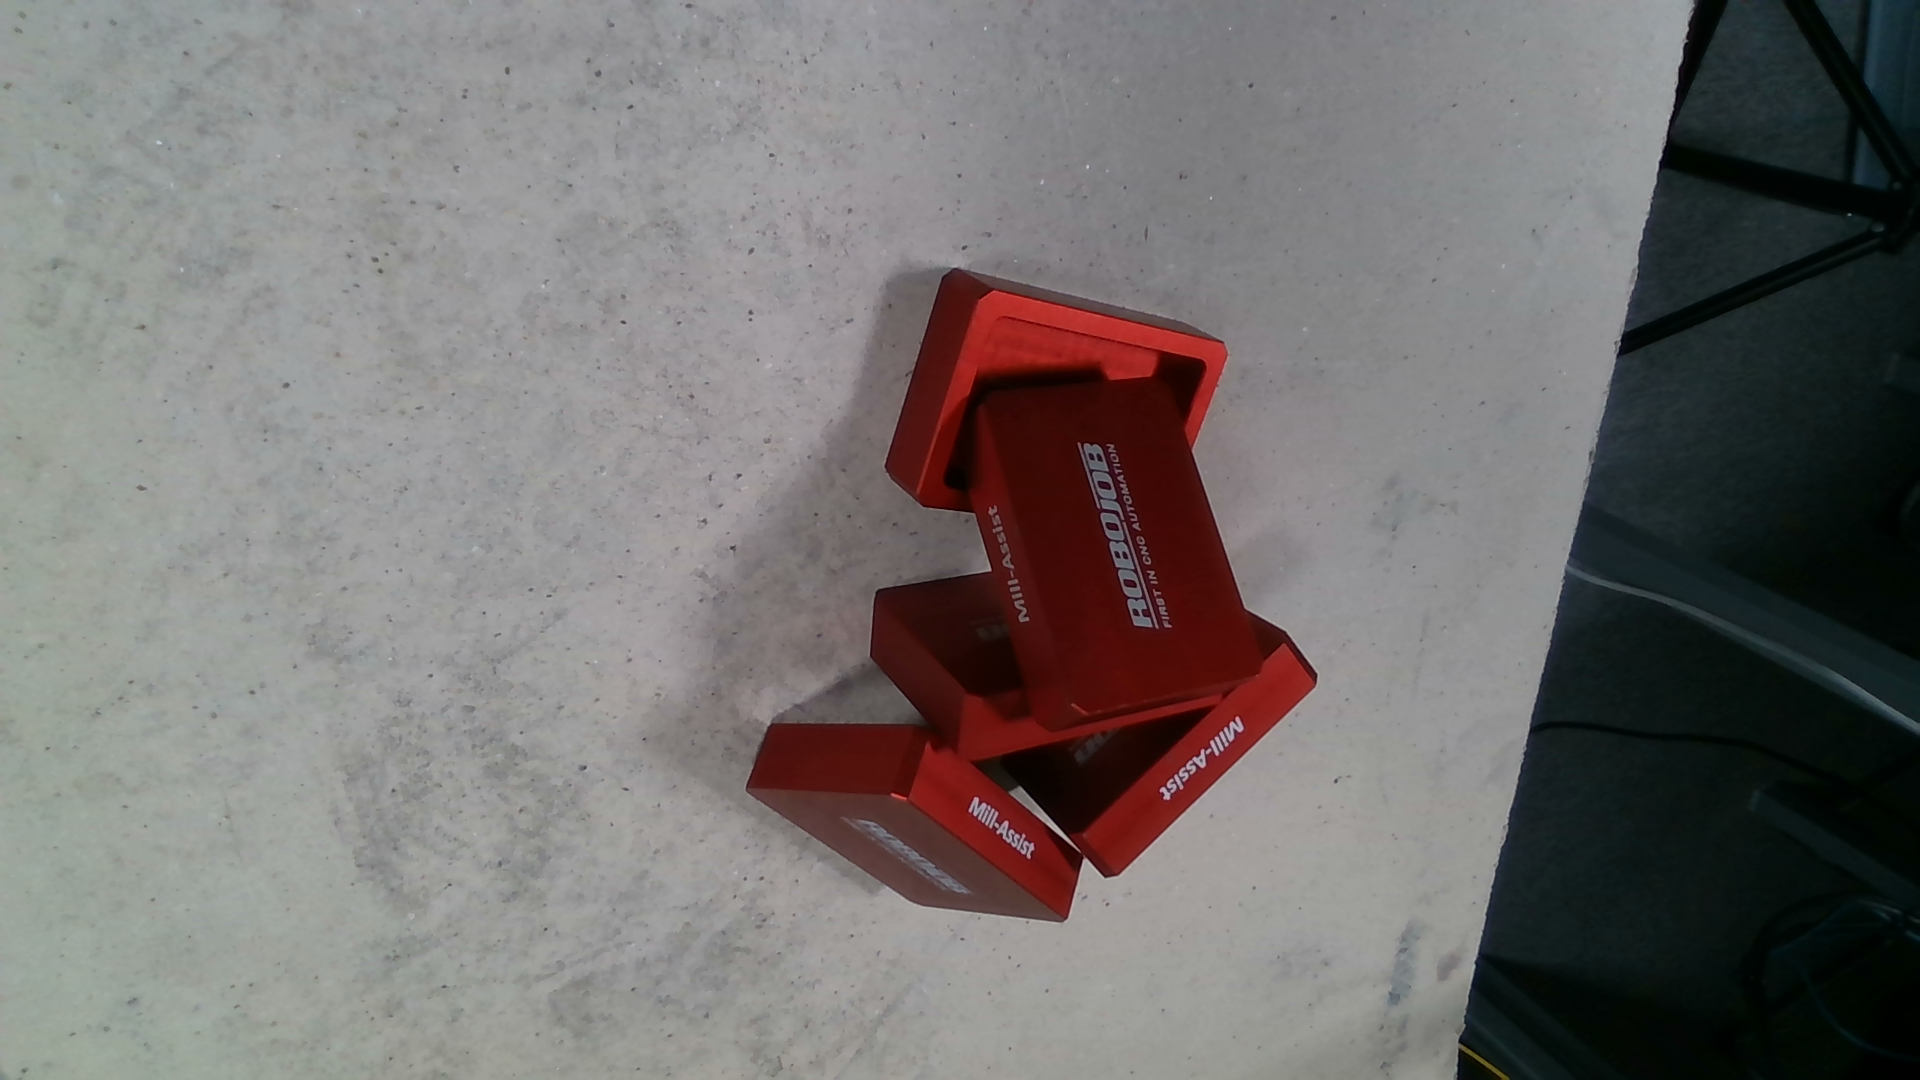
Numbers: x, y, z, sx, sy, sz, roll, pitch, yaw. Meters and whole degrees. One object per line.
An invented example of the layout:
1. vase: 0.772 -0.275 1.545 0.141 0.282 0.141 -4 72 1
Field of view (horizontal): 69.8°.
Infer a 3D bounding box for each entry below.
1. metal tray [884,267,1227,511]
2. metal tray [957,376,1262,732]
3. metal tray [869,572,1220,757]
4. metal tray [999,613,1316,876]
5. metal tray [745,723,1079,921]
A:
1. metal tray: 0.041 -0.055 0.574 0.130 0.030 0.090 6 111 -34
2. metal tray: 0.058 0.003 0.545 0.090 0.030 0.130 -8 74 -28
3. metal tray: 0.038 0.045 0.587 0.130 0.090 0.030 -8 119 -28
4. metal tray: 0.088 0.083 0.635 0.130 0.090 0.030 -43 115 -5
5. metal tray: -0.018 0.122 0.594 0.130 0.090 0.030 45 52 -39
